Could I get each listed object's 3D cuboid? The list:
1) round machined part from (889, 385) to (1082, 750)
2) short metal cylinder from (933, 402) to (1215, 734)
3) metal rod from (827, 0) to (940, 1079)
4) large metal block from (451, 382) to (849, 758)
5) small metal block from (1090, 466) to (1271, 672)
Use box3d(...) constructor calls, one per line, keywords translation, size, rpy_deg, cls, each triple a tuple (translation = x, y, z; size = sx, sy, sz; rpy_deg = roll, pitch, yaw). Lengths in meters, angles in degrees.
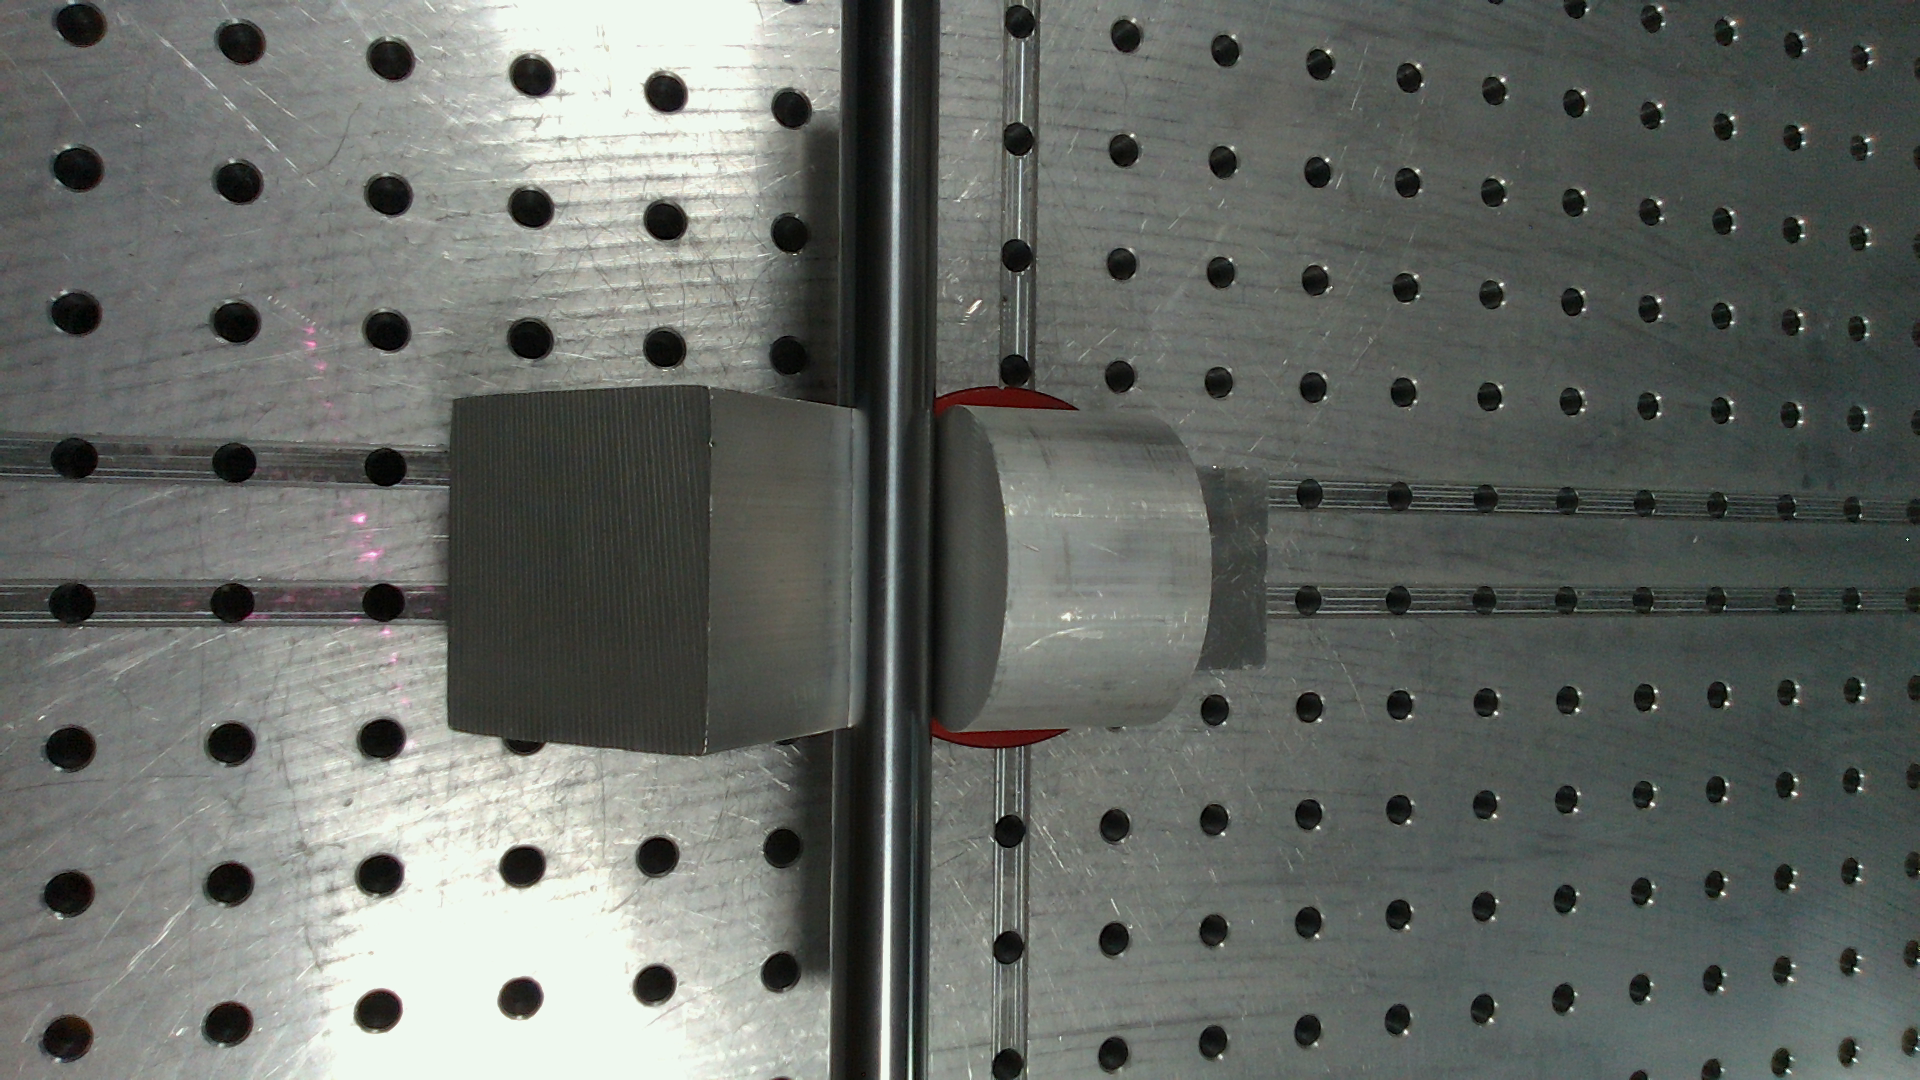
box3d(translation=(0.005, 0.007, 0.388), size=(0.098, 0.042, 0.098), rpy_deg=(0, 90, -20), cls="round machined part")
box3d(translation=(0.021, 0.007, 0.342), size=(0.050, 0.080, 0.080), rpy_deg=(1, 90, -20), cls="short metal cylinder")
box3d(translation=(-0.019, -0.001, 0.345), size=(0.025, 0.025, 0.300), rpy_deg=(1, 90, -20), cls="metal rod")
box3d(translation=(-0.075, 0.006, 0.333), size=(0.050, 0.080, 0.080), rpy_deg=(1, 89, -61), cls="large metal block")
box3d(translation=(0.056, 0.007, 0.358), size=(0.025, 0.050, 0.050), rpy_deg=(1, 90, -20), cls="small metal block")
